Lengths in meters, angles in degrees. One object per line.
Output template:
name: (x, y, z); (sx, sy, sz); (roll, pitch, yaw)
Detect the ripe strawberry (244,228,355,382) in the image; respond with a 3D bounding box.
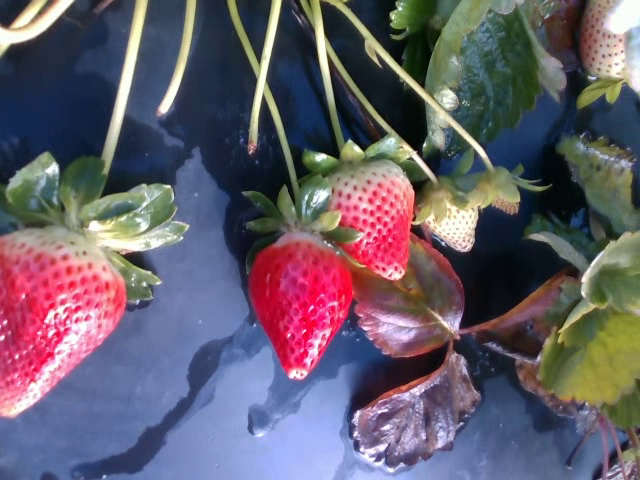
ripe strawberry: (-0.010, 0.026, 0.228); (0.044, 0.055, 0.042); (-4, -22, 15)

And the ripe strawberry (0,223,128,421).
ripe strawberry: (-0.090, 0.026, 0.198); (0.050, 0.065, 0.050); (17, -23, 4)
